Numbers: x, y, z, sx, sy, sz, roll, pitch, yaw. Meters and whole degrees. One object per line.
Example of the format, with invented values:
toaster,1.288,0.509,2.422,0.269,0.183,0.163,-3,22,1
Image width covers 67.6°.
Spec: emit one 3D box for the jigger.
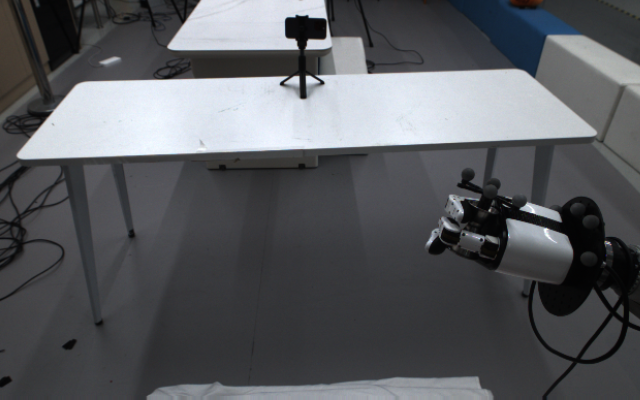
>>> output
jigger,0.201,0.038,0.634,0.043,0.071,0.043,18,17,-6
